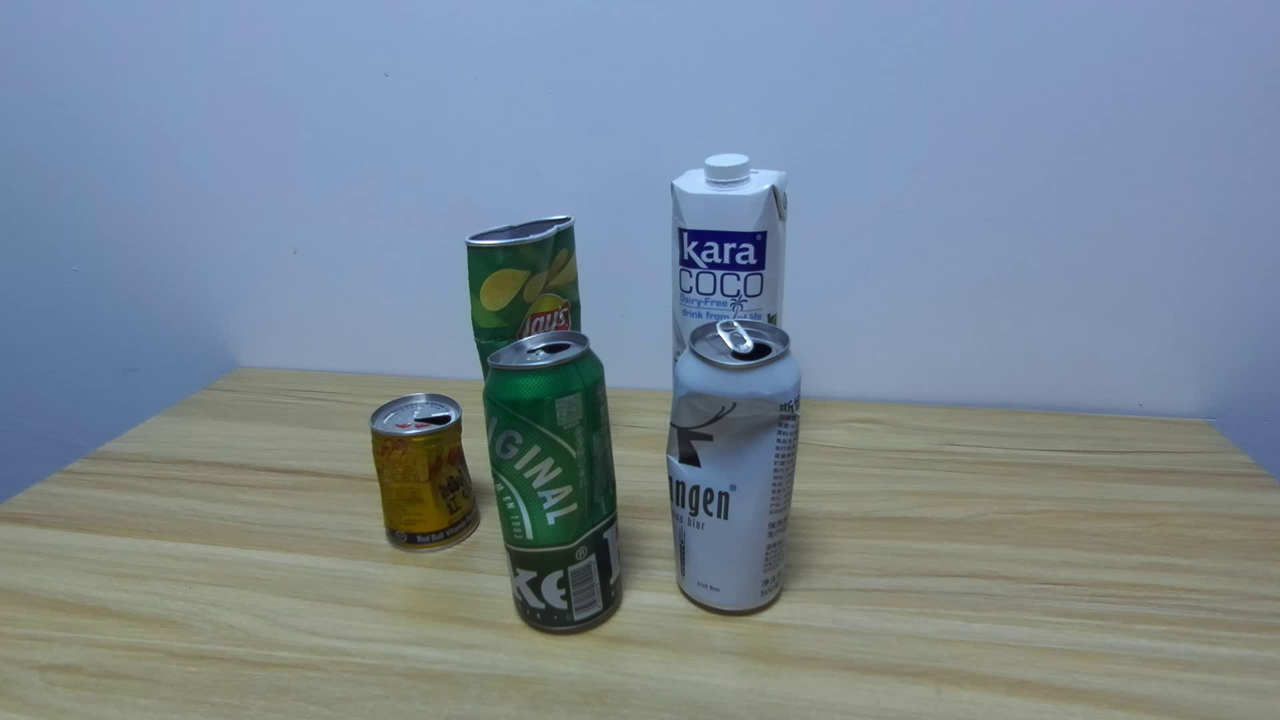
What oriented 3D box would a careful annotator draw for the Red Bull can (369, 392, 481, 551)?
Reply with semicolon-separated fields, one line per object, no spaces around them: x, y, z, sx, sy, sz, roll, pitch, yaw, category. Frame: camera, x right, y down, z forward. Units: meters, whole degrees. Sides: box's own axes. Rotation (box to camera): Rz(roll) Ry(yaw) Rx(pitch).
-0.148;0.077;0.489;0.072;0.092;0.072;-2;22;1;Red Bull can

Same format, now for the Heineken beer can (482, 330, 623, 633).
-0.048;0.071;0.404;0.068;0.168;0.069;-10;21;-13;Heineken beer can

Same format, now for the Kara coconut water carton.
0.064;-0.025;0.516;0.077;0.245;0.075;5;23;17;Kara coconut water carton

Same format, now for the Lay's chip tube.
-0.078;0.001;0.528;0.069;0.199;0.075;-2;24;2;Lay's chip tube

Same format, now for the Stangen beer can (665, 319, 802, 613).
0.054;0.063;0.406;0.070;0.173;0.070;-12;26;-20;Stangen beer can
